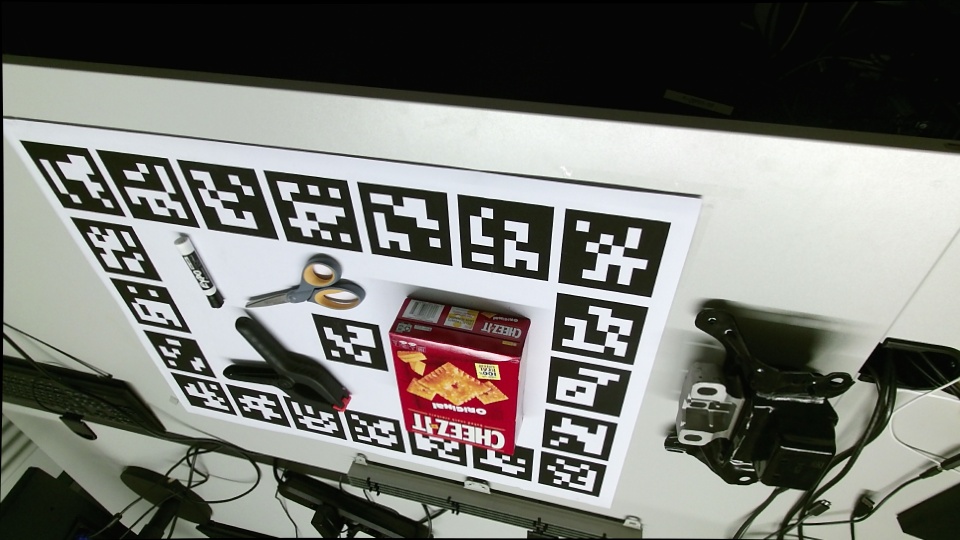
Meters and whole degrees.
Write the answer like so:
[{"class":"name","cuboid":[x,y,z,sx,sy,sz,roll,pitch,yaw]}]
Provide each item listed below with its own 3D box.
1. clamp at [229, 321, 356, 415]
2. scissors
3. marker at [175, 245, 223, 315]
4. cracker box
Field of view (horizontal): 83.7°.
[{"class":"clamp","cuboid":[-0.294,0.174,0.857,0.203,0.036,0.165,31,133,-9]},{"class":"scissors","cuboid":[-0.250,0.041,0.722,0.203,0.016,0.088,-15,125,31]},{"class":"marker","cuboid":[-0.389,0.018,0.745,0.020,0.019,0.121,5,131,13]},{"class":"cracker box","cuboid":[-0.028,0.150,0.711,0.165,0.072,0.214,9,132,10]}]
